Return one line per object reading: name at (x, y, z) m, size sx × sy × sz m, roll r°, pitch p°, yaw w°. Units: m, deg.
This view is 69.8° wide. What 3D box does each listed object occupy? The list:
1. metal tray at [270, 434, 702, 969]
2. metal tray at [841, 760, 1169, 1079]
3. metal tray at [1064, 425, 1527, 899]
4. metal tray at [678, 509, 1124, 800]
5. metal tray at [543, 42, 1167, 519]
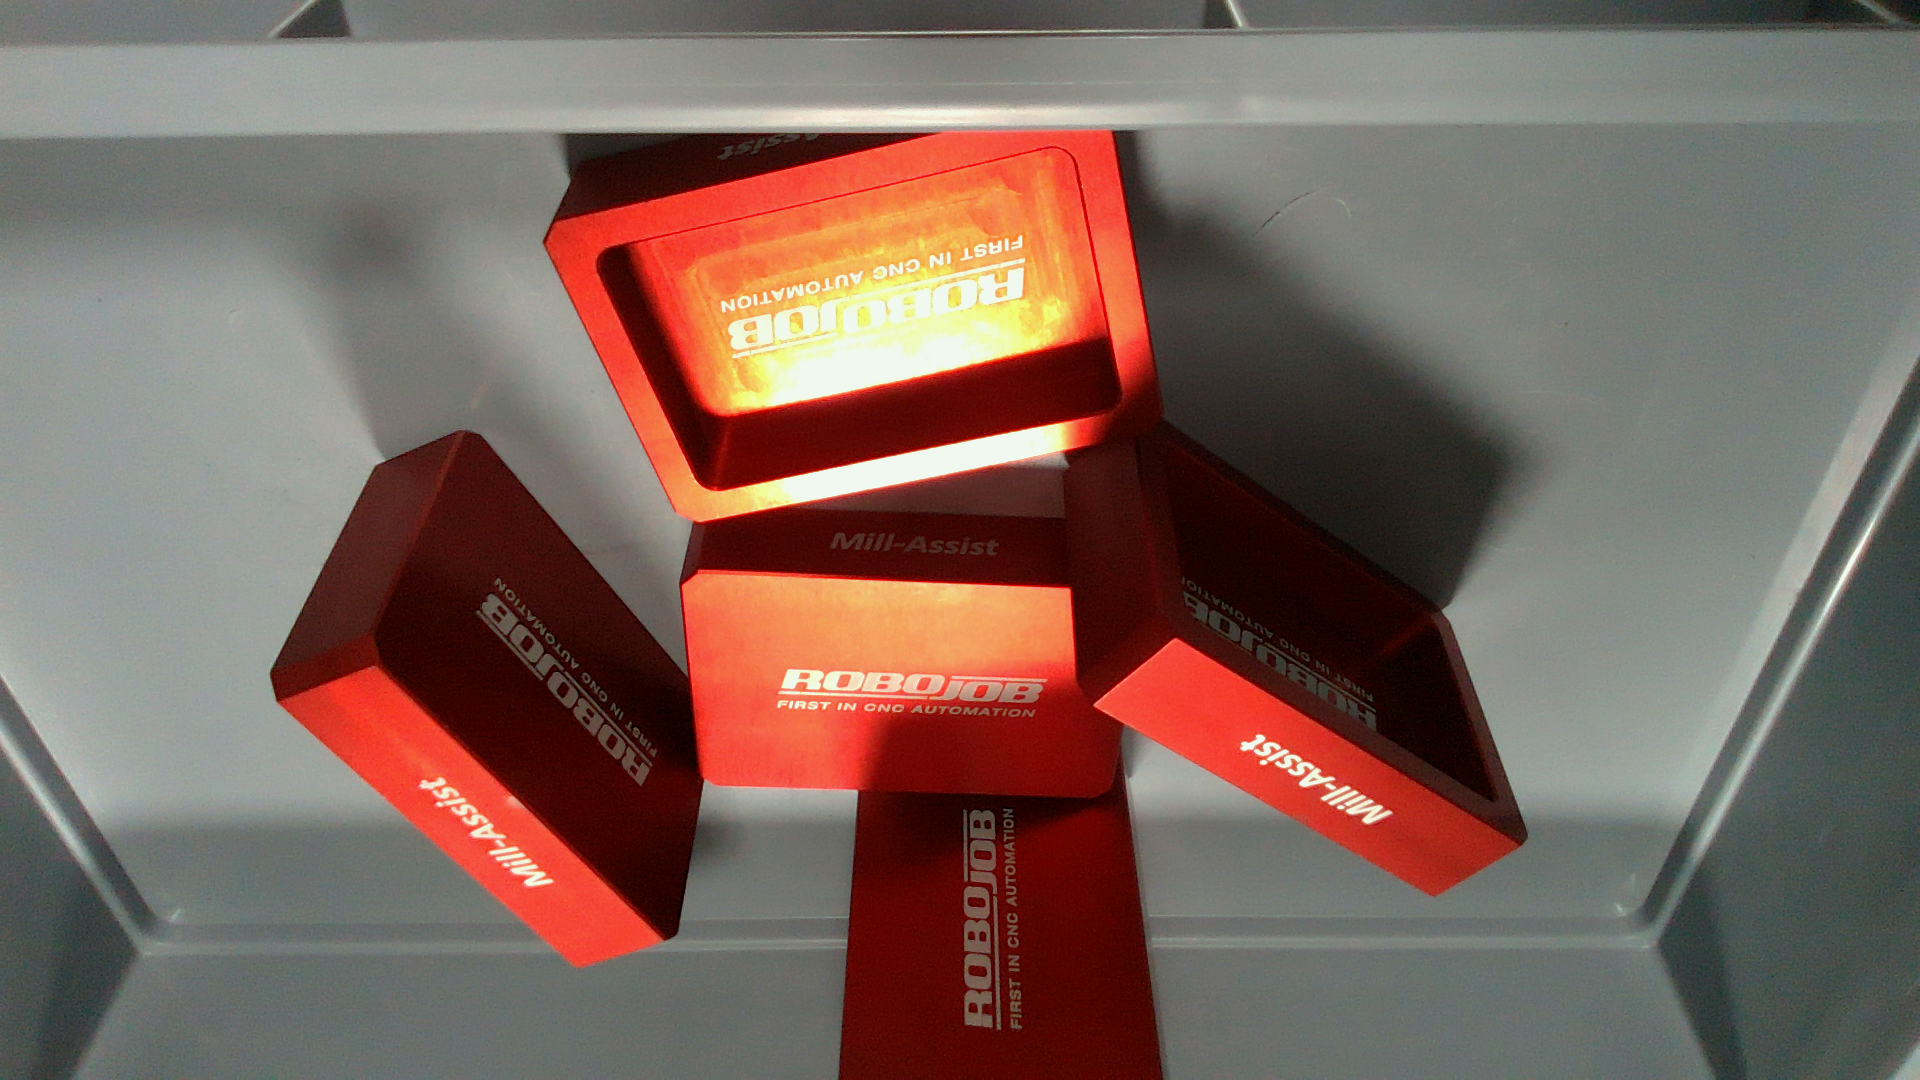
metal tray at (-0.121, 0.046, 0.384) m, size 0.030 × 0.090 × 0.130 m, roll -20°, pitch 128°, yaw 15°
metal tray at (0.013, 0.124, 0.424) m, size 0.090 × 0.130 × 0.030 m, roll -10°, pitch 130°, yaw 8°
metal tray at (0.089, 0.030, 0.371) m, size 0.130 × 0.090 × 0.030 m, roll 31°, pitch 124°, yaw -23°
metal tray at (-0.014, 0.036, 0.414) m, size 0.130 × 0.030 × 0.090 m, roll 2°, pitch 130°, yaw -2°
metal tray at (-0.021, -0.059, 0.336) m, size 0.130 × 0.030 × 0.090 m, roll -10°, pitch 129°, yaw 8°
